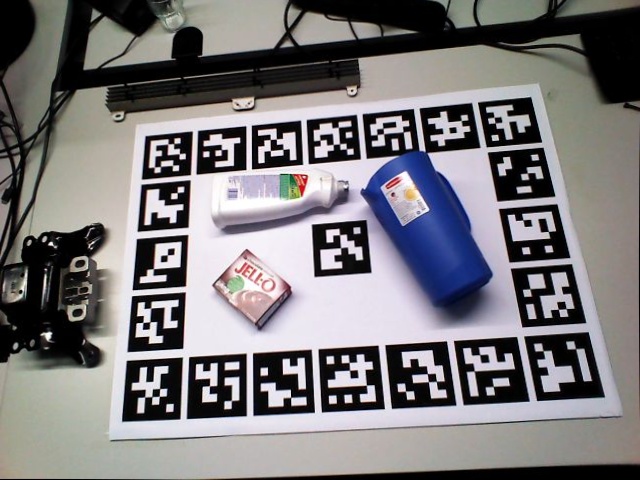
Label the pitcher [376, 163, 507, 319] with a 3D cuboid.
[{"bbox_3d":[0.214,0.000,0.862,0.188,0.134,0.242,-16,69,-36],"label":"pitcher"}]

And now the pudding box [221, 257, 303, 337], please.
[{"bbox_3d":[-0.098,0.098,0.893,0.114,0.039,0.089,40,74,17],"label":"pudding box"}]

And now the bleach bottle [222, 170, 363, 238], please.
[{"bbox_3d":[-0.047,-0.071,0.942,0.251,0.068,0.102,-7,73,3],"label":"bleach bottle"}]
